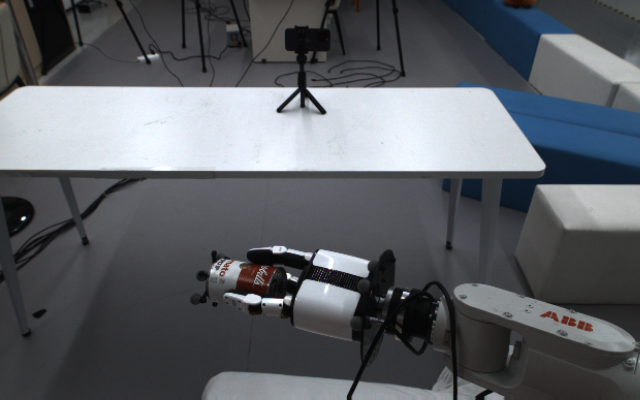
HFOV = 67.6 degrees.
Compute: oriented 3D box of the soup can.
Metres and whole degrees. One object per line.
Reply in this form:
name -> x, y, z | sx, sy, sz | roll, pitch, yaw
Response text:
soup can -> -0.105, 0.127, 0.715 | 0.101, 0.067, 0.067 | 6, 34, 18
